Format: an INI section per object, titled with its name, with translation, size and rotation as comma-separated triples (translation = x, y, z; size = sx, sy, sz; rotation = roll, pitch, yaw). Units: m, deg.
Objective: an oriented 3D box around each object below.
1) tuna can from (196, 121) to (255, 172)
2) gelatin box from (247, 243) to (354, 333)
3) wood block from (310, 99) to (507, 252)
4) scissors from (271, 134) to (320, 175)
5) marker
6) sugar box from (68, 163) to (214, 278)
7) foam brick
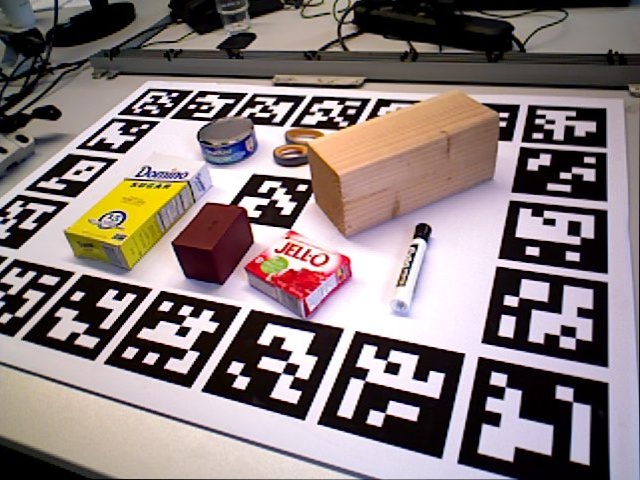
[tuna can]
translation = -0.139, -0.138, 0.797
size = 0.086, 0.034, 0.084
rotation = -8, 42, 6
[gelatin box]
translation = -0.021, 0.047, 0.571
size = 0.089, 0.031, 0.072
rotation = 25, 54, 35
[wood block]
translation = 0.104, -0.078, 0.635
size = 0.204, 0.092, 0.089
rotation = -22, 42, -12
[scissors]
translation = 0.025, -0.110, 0.743
size = 0.204, 0.016, 0.086
rotation = 13, 48, 29
[marker]
translation = 0.095, 0.038, 0.557
size = 0.020, 0.020, 0.118
rotation = 10, 49, 23
[sugar box]
translation = -0.224, -0.031, 0.700
size = 0.093, 0.046, 0.172
rotation = 13, 48, 25
[foam brick]
translation = -0.115, 0.016, 0.607
size = 0.053, 0.052, 0.076
rotation = 10, 47, 24
